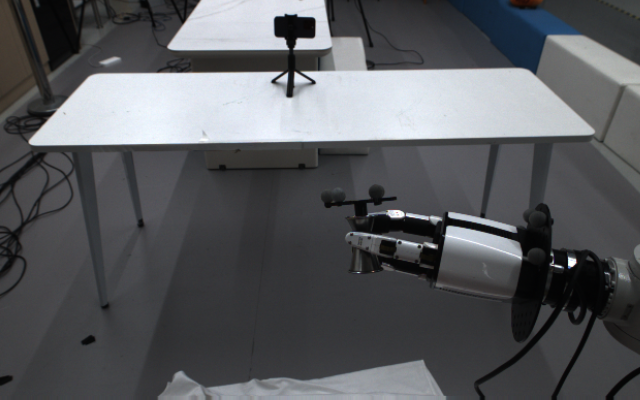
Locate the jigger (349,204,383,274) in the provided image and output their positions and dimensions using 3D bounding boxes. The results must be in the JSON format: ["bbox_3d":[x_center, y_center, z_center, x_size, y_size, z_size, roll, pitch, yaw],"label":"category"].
[{"bbox_3d":[0.053,0.053,0.592,0.043,0.071,0.043,-4,1,0],"label":"jigger"}]
